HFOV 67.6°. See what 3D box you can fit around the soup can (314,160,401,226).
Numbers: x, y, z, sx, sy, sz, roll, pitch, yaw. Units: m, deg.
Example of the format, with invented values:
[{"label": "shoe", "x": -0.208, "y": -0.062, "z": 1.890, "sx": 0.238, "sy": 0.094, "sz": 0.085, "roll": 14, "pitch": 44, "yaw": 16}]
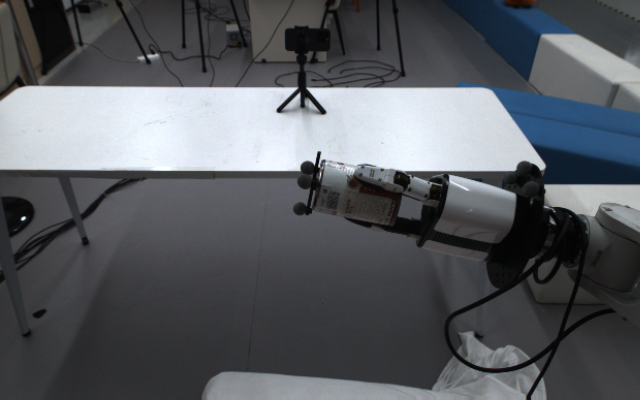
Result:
[{"label": "soup can", "x": 0.048, "y": -0.009, "z": 0.605, "sx": 0.101, "sy": 0.067, "sz": 0.067, "roll": 11, "pitch": 35, "yaw": -2}]
